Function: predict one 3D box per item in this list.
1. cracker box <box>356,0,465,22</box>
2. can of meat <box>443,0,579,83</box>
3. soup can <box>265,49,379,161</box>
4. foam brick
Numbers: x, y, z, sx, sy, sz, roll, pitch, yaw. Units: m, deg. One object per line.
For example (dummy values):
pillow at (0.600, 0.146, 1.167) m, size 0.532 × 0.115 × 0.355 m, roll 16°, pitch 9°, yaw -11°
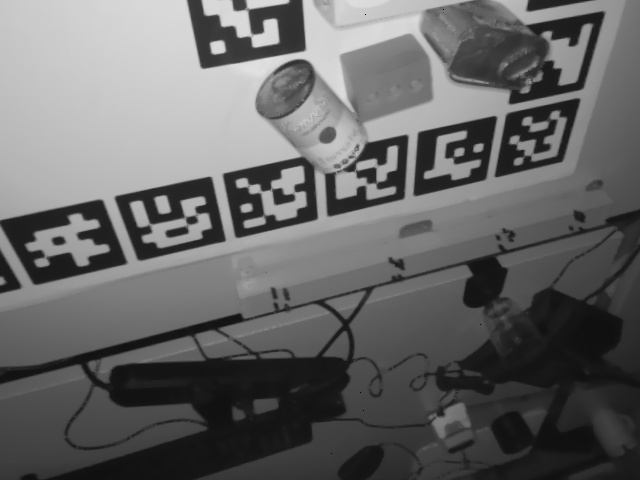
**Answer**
cracker box at (0.126, -0.282, 0.549) m, size 0.215 × 0.072 × 0.163 m, roll -19°, pitch 136°, yaw -11°
can of meat at (0.179, -0.196, 0.661) m, size 0.103 × 0.084 × 0.057 m, roll -1°, pitch 131°, yaw -21°
soup can at (0.004, -0.129, 0.677) m, size 0.067 × 0.068 × 0.103 m, roll -39°, pitch 139°, yaw 15°
foam brick at (0.082, -0.166, 0.676) m, size 0.078 × 0.051 × 0.052 m, roll -19°, pitch 135°, yaw -4°
